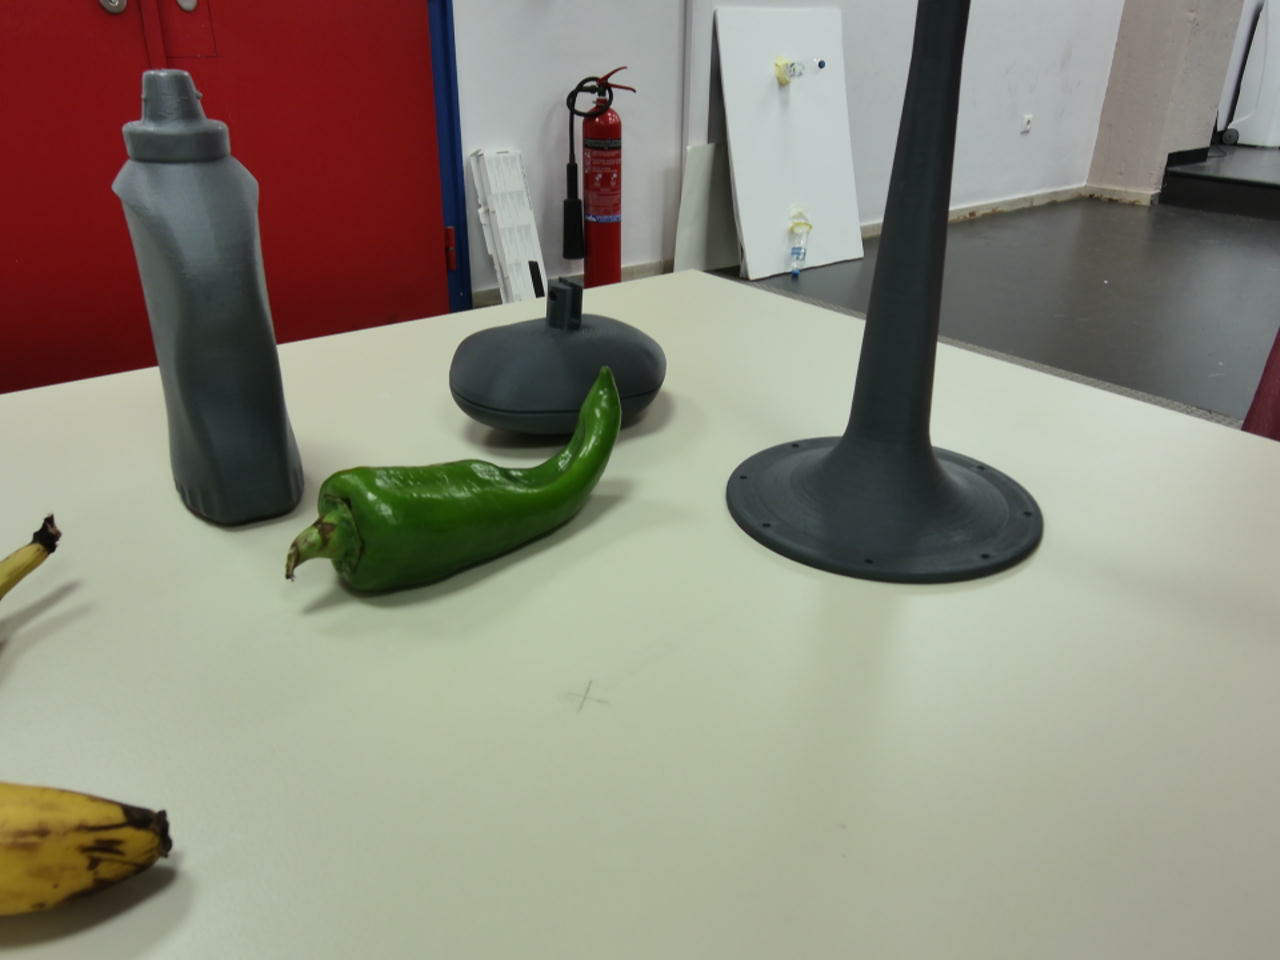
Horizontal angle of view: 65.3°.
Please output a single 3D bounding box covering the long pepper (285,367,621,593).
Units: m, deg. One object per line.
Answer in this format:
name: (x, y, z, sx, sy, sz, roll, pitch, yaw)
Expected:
long pepper: (-0.071, 0.001, 0.431, 0.175, 0.065, 0.058, -19, 30, -37)
